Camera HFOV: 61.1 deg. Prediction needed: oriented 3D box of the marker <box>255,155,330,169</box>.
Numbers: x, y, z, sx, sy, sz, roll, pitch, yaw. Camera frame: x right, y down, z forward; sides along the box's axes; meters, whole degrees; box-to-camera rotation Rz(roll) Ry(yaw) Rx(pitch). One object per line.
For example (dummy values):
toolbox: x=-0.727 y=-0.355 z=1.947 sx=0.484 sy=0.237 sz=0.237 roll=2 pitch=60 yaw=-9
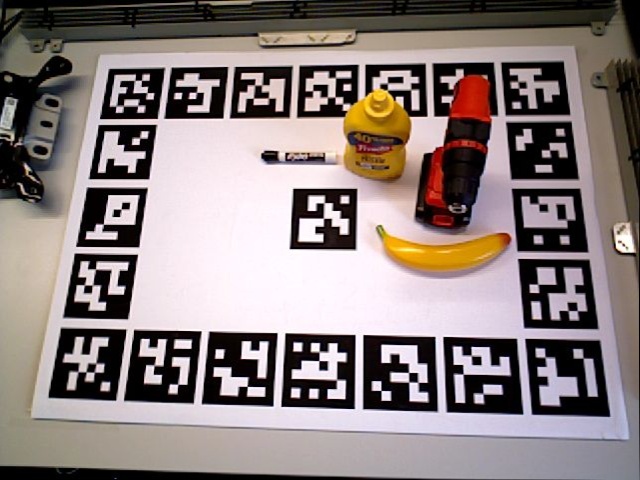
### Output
marker: x=-0.044 y=-0.126 z=0.871 sx=0.121 sy=0.020 sz=0.019 roll=3 pitch=74 yaw=5

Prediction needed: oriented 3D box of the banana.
banana: x=0.170 y=0.031 z=0.802 sx=0.197 sy=0.039 sz=0.074 roll=8 pitch=76 yaw=8

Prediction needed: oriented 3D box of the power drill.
power drill: x=0.180 y=-0.083 z=0.734 sx=0.057 sy=0.189 sz=0.183 roll=15 pitch=72 yaw=6

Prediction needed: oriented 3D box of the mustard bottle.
mustard bottle: x=0.078 y=-0.141 z=0.776 sx=0.096 sy=0.193 sz=0.058 roll=12 pitch=73 yaw=6
